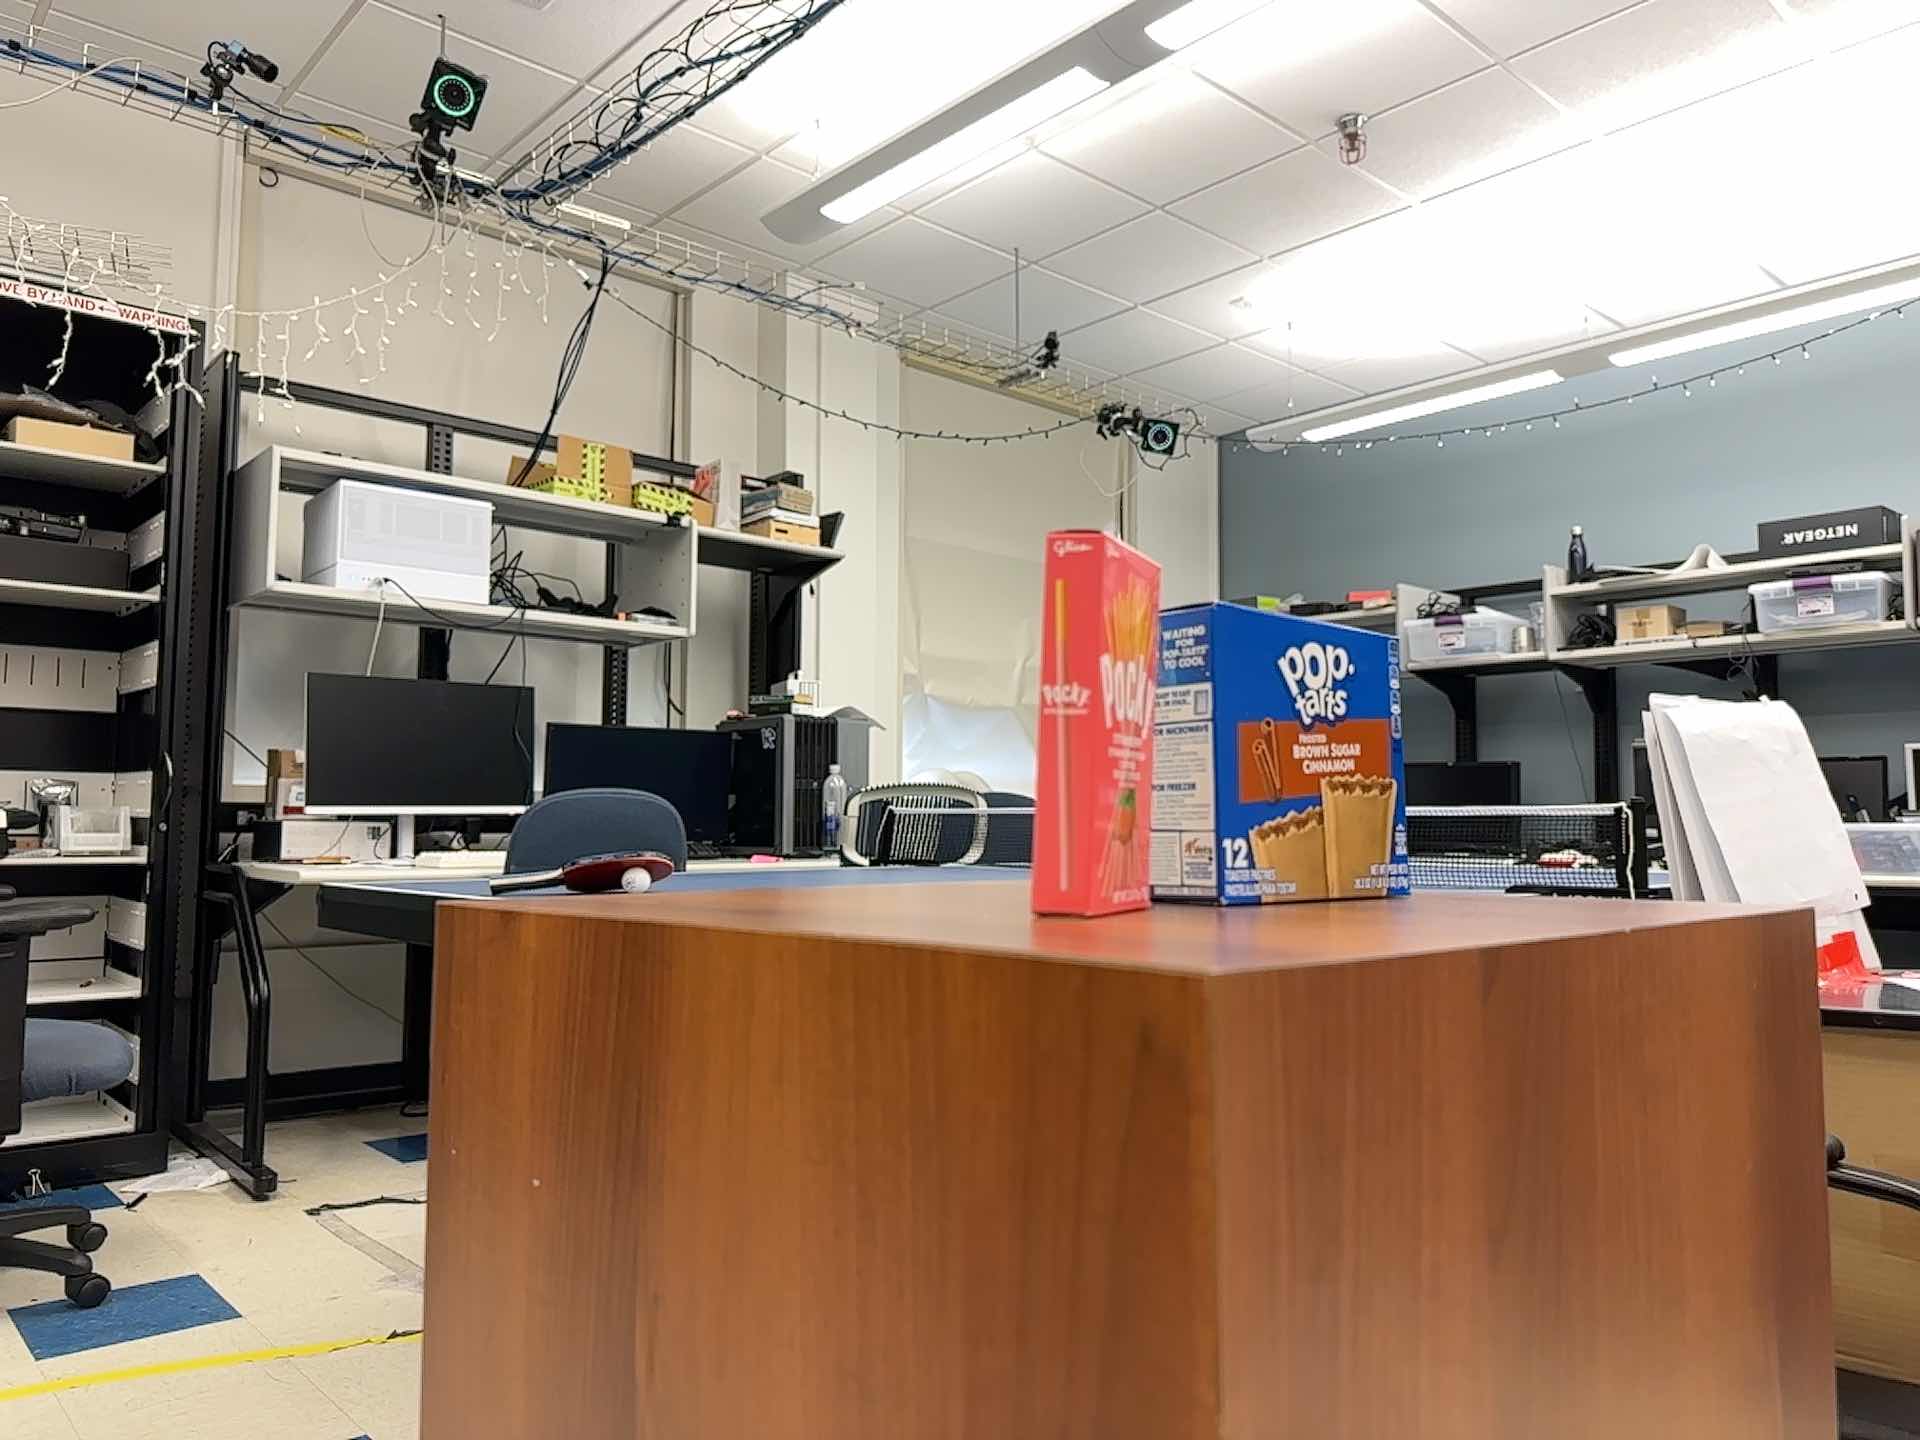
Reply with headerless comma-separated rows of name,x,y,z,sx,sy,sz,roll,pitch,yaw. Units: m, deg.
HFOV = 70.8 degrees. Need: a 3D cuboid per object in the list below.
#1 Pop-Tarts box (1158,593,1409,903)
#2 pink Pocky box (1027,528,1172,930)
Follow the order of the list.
Pop-Tarts box,0.151,0.021,0.688,0.161,0.135,0.075,8,-9,-43
pink Pocky box,0.059,0.005,0.551,0.029,0.155,0.084,1,-5,26
